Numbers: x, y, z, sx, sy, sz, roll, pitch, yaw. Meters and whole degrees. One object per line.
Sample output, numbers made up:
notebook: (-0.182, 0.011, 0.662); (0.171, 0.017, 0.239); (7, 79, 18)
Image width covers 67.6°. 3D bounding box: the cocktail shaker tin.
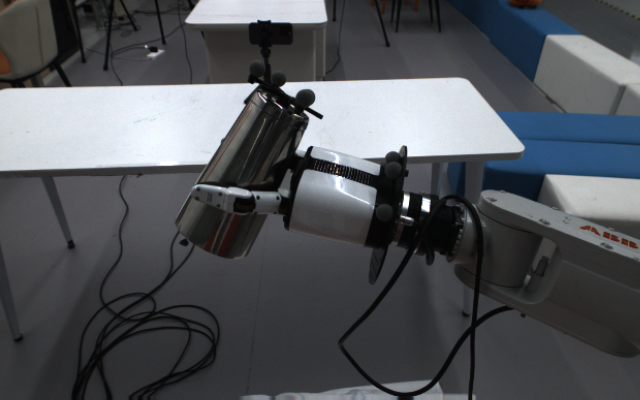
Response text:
cocktail shaker tin: (-0.079, -0.033, 0.533); (0.093, 0.170, 0.093); (28, 14, -7)
